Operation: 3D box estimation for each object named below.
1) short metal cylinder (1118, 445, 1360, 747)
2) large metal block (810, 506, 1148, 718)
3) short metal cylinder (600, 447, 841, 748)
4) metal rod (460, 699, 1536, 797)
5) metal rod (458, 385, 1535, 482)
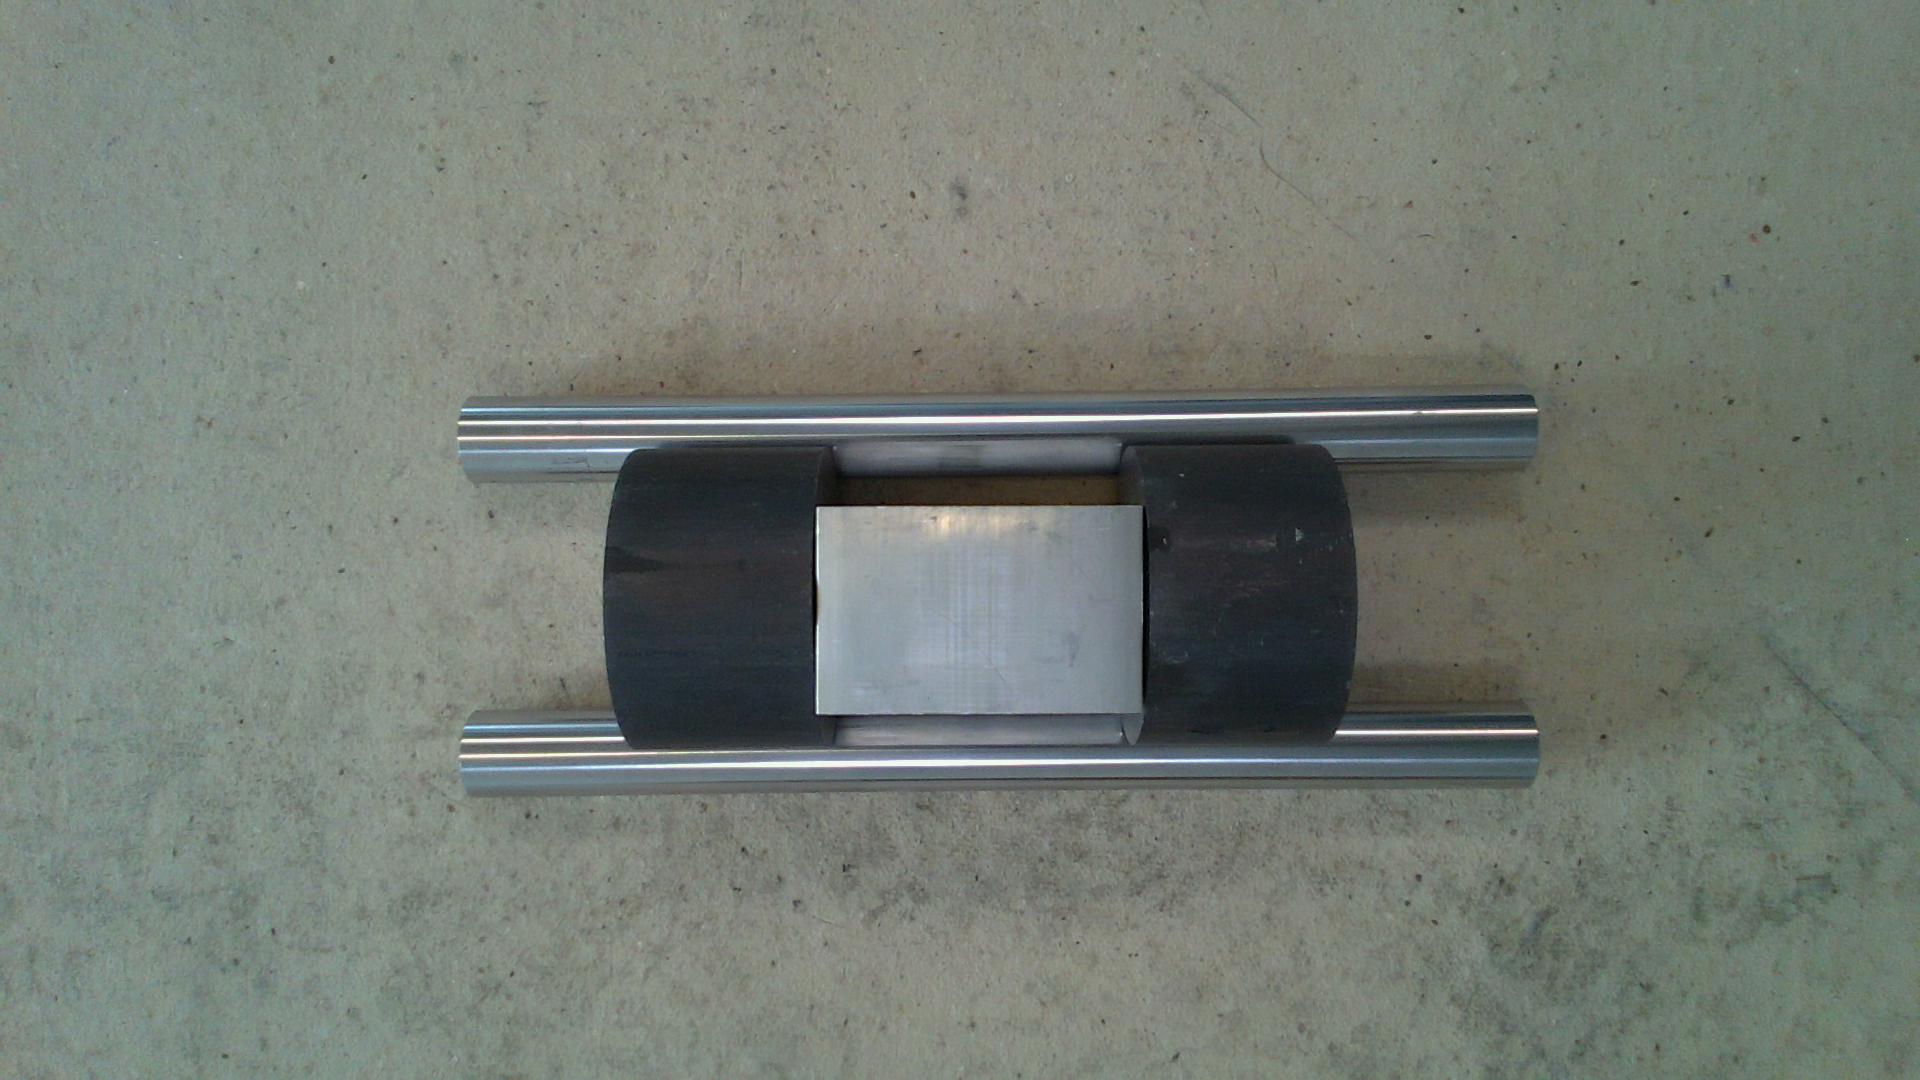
[{"bbox_3d":[0.070,0.015,0.368,0.050,0.080,0.080,-1,90,0],"label":"short metal cylinder"},{"bbox_3d":[0.005,0.017,0.365,0.080,0.080,0.050,0,90,0],"label":"large metal block"},{"bbox_3d":[-0.060,0.016,0.367,0.050,0.080,0.080,-1,90,0],"label":"short metal cylinder"},{"bbox_3d":[0.011,0.060,0.396,0.300,0.025,0.025,-1,90,0],"label":"metal rod"},{"bbox_3d":[0.010,-0.031,0.395,0.300,0.025,0.025,-1,90,0],"label":"metal rod"}]
